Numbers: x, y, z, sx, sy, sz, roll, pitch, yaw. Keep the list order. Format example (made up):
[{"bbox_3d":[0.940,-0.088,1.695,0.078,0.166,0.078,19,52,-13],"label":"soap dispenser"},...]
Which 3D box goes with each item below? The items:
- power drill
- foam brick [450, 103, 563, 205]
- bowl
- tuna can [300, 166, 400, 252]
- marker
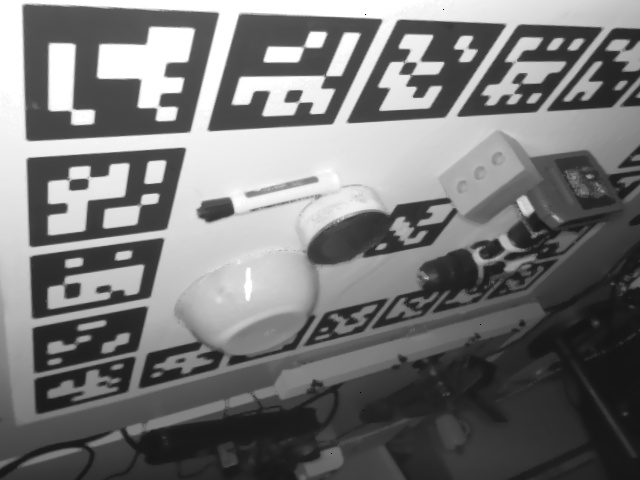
[{"bbox_3d":[0.246,-0.022,0.781,0.187,0.057,0.184,-5,147,-24],"label":"power drill"},{"bbox_3d":[0.174,-0.079,0.648,0.052,0.053,0.077,13,132,-45],"label":"foam brick"},{"bbox_3d":[-0.056,0.056,0.698,0.163,0.055,0.160,-20,157,-8],"label":"bowl"},{"bbox_3d":[0.026,-0.027,0.627,0.086,0.034,0.085,-16,148,-10],"label":"tuna can"},{"bbox_3d":[-0.037,-0.053,0.552,0.122,0.019,0.019,-13,147,-19],"label":"marker"}]
